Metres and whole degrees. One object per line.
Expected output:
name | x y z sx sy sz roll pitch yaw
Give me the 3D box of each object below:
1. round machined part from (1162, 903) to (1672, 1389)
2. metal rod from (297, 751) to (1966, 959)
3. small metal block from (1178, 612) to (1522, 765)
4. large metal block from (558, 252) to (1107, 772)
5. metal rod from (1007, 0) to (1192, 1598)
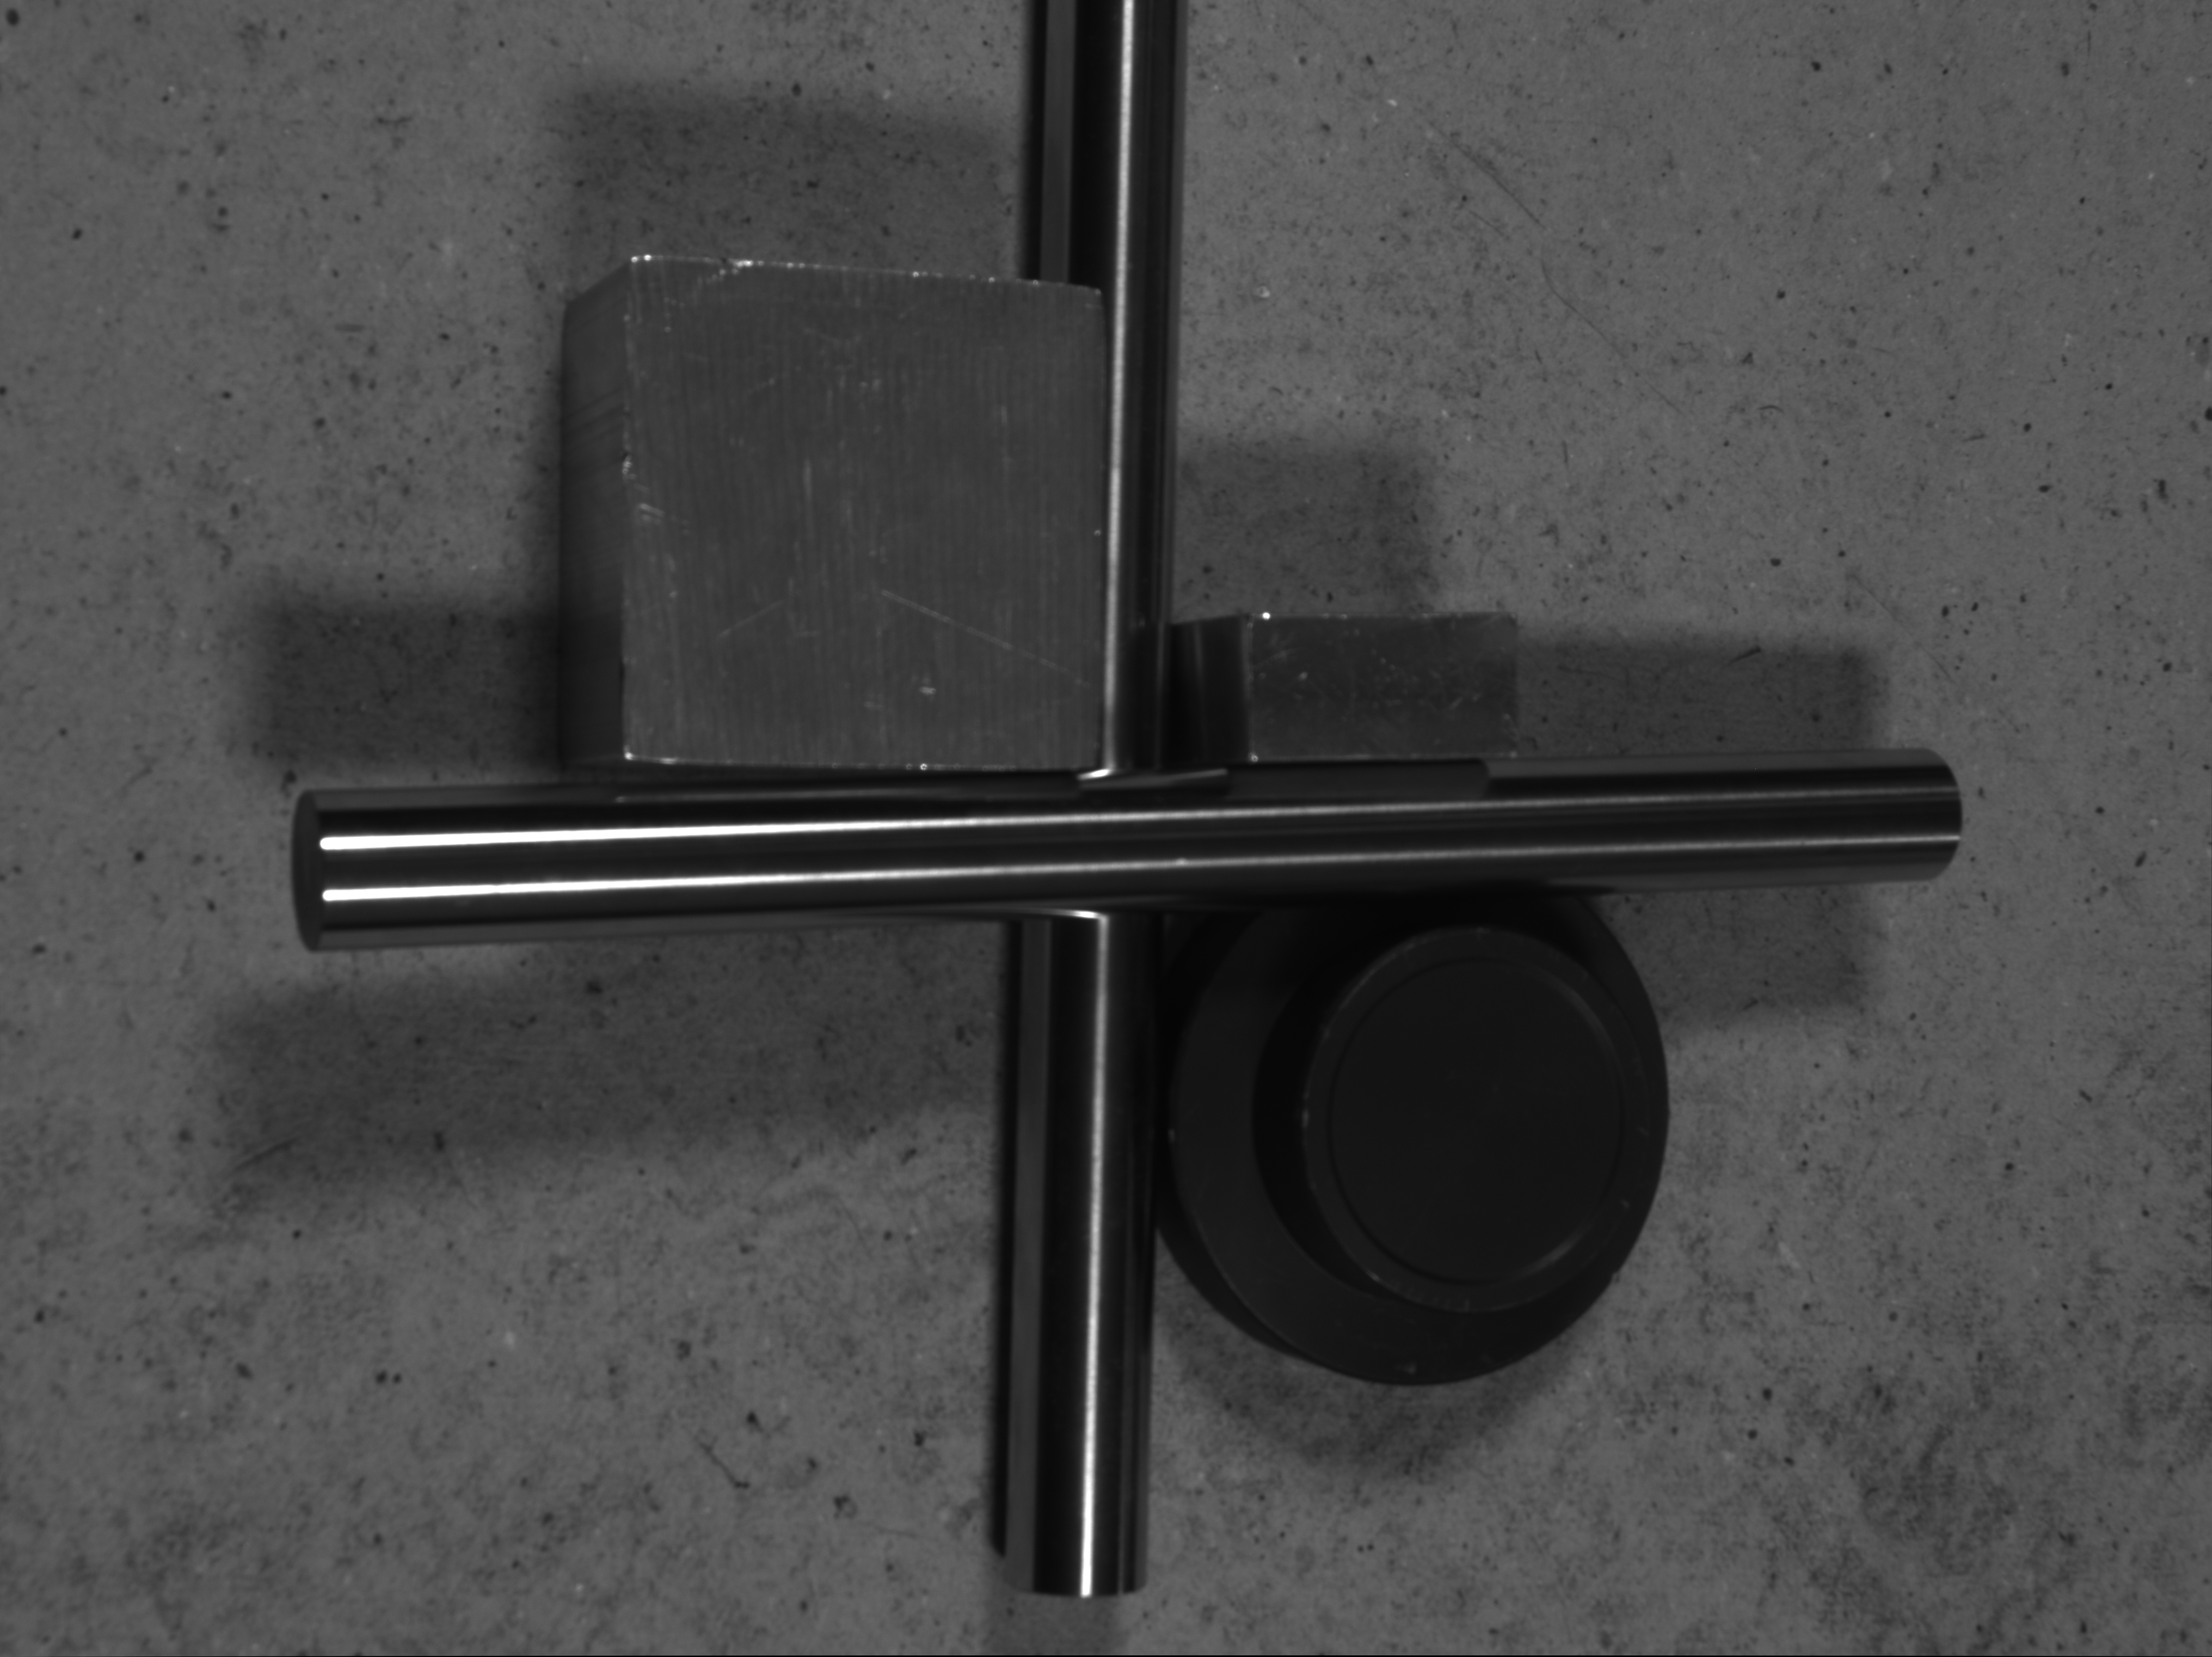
round machined part | 0.058 0.051 0.655 0.098 0.042 0.098 0 90 -20
metal rod | 0.015 0.003 0.623 0.301 0.025 0.025 -2 91 -24
small metal block | 0.039 -0.024 0.645 0.050 0.050 0.025 -1 90 -20
large metal block | -0.046 -0.050 0.613 0.080 0.050 0.080 1 90 -20
metal rod | -0.001 -0.018 0.643 0.025 0.025 0.300 2 89 -20
